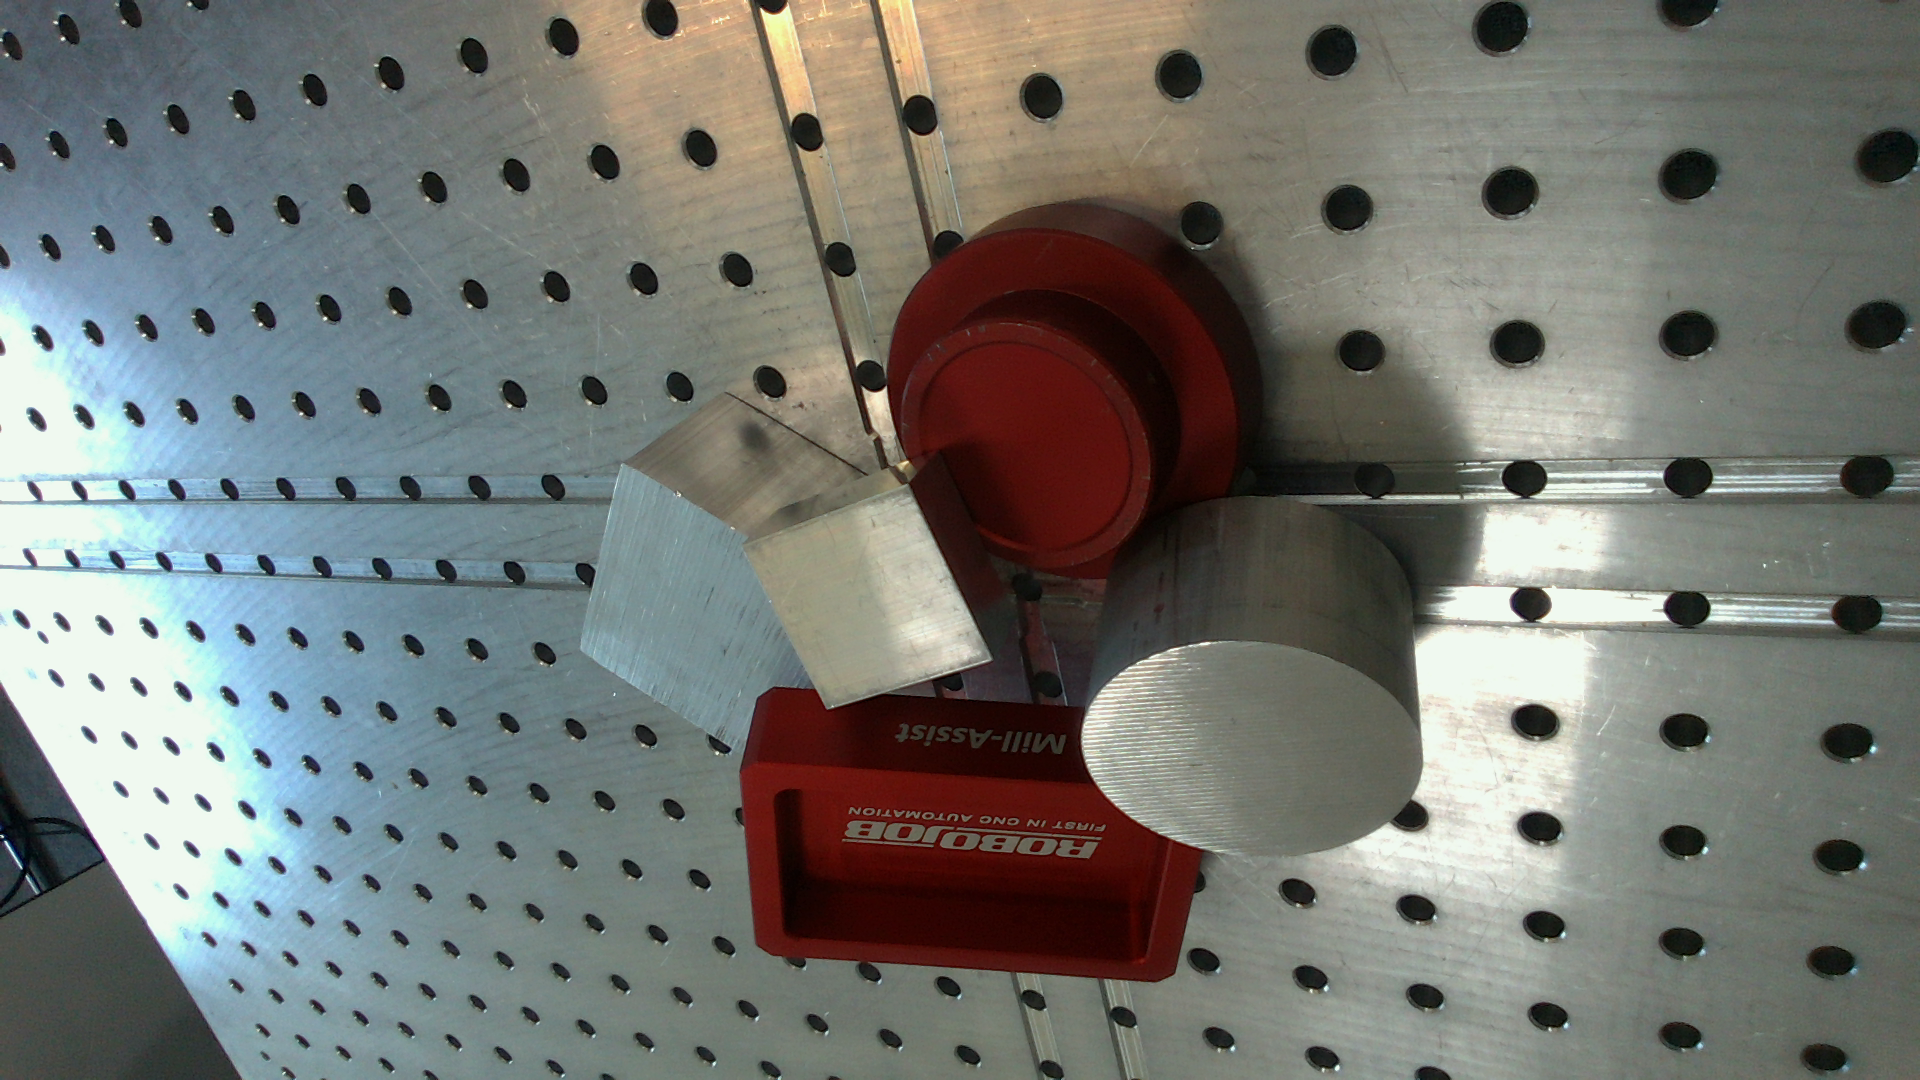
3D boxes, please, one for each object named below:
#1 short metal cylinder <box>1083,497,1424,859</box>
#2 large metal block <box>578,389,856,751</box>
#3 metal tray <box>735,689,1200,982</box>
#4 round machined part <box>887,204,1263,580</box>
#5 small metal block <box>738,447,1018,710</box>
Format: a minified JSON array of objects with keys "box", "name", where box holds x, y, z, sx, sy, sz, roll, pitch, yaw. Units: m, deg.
[{"box":[0.074,0.036,0.348,0.080,0.050,0.080,7,133,8],"name":"short metal cylinder"},{"box":[-0.063,0.015,0.422,0.080,0.050,0.080,31,129,8],"name":"large metal block"},{"box":[0.003,0.090,0.409,0.130,0.030,0.090,4,130,1],"name":"metal tray"},{"box":[0.024,-0.032,0.352,0.098,0.042,0.098,13,124,21],"name":"round machined part"},{"box":[-0.020,0.010,0.353,0.050,0.025,0.050,-18,106,24],"name":"small metal block"}]
